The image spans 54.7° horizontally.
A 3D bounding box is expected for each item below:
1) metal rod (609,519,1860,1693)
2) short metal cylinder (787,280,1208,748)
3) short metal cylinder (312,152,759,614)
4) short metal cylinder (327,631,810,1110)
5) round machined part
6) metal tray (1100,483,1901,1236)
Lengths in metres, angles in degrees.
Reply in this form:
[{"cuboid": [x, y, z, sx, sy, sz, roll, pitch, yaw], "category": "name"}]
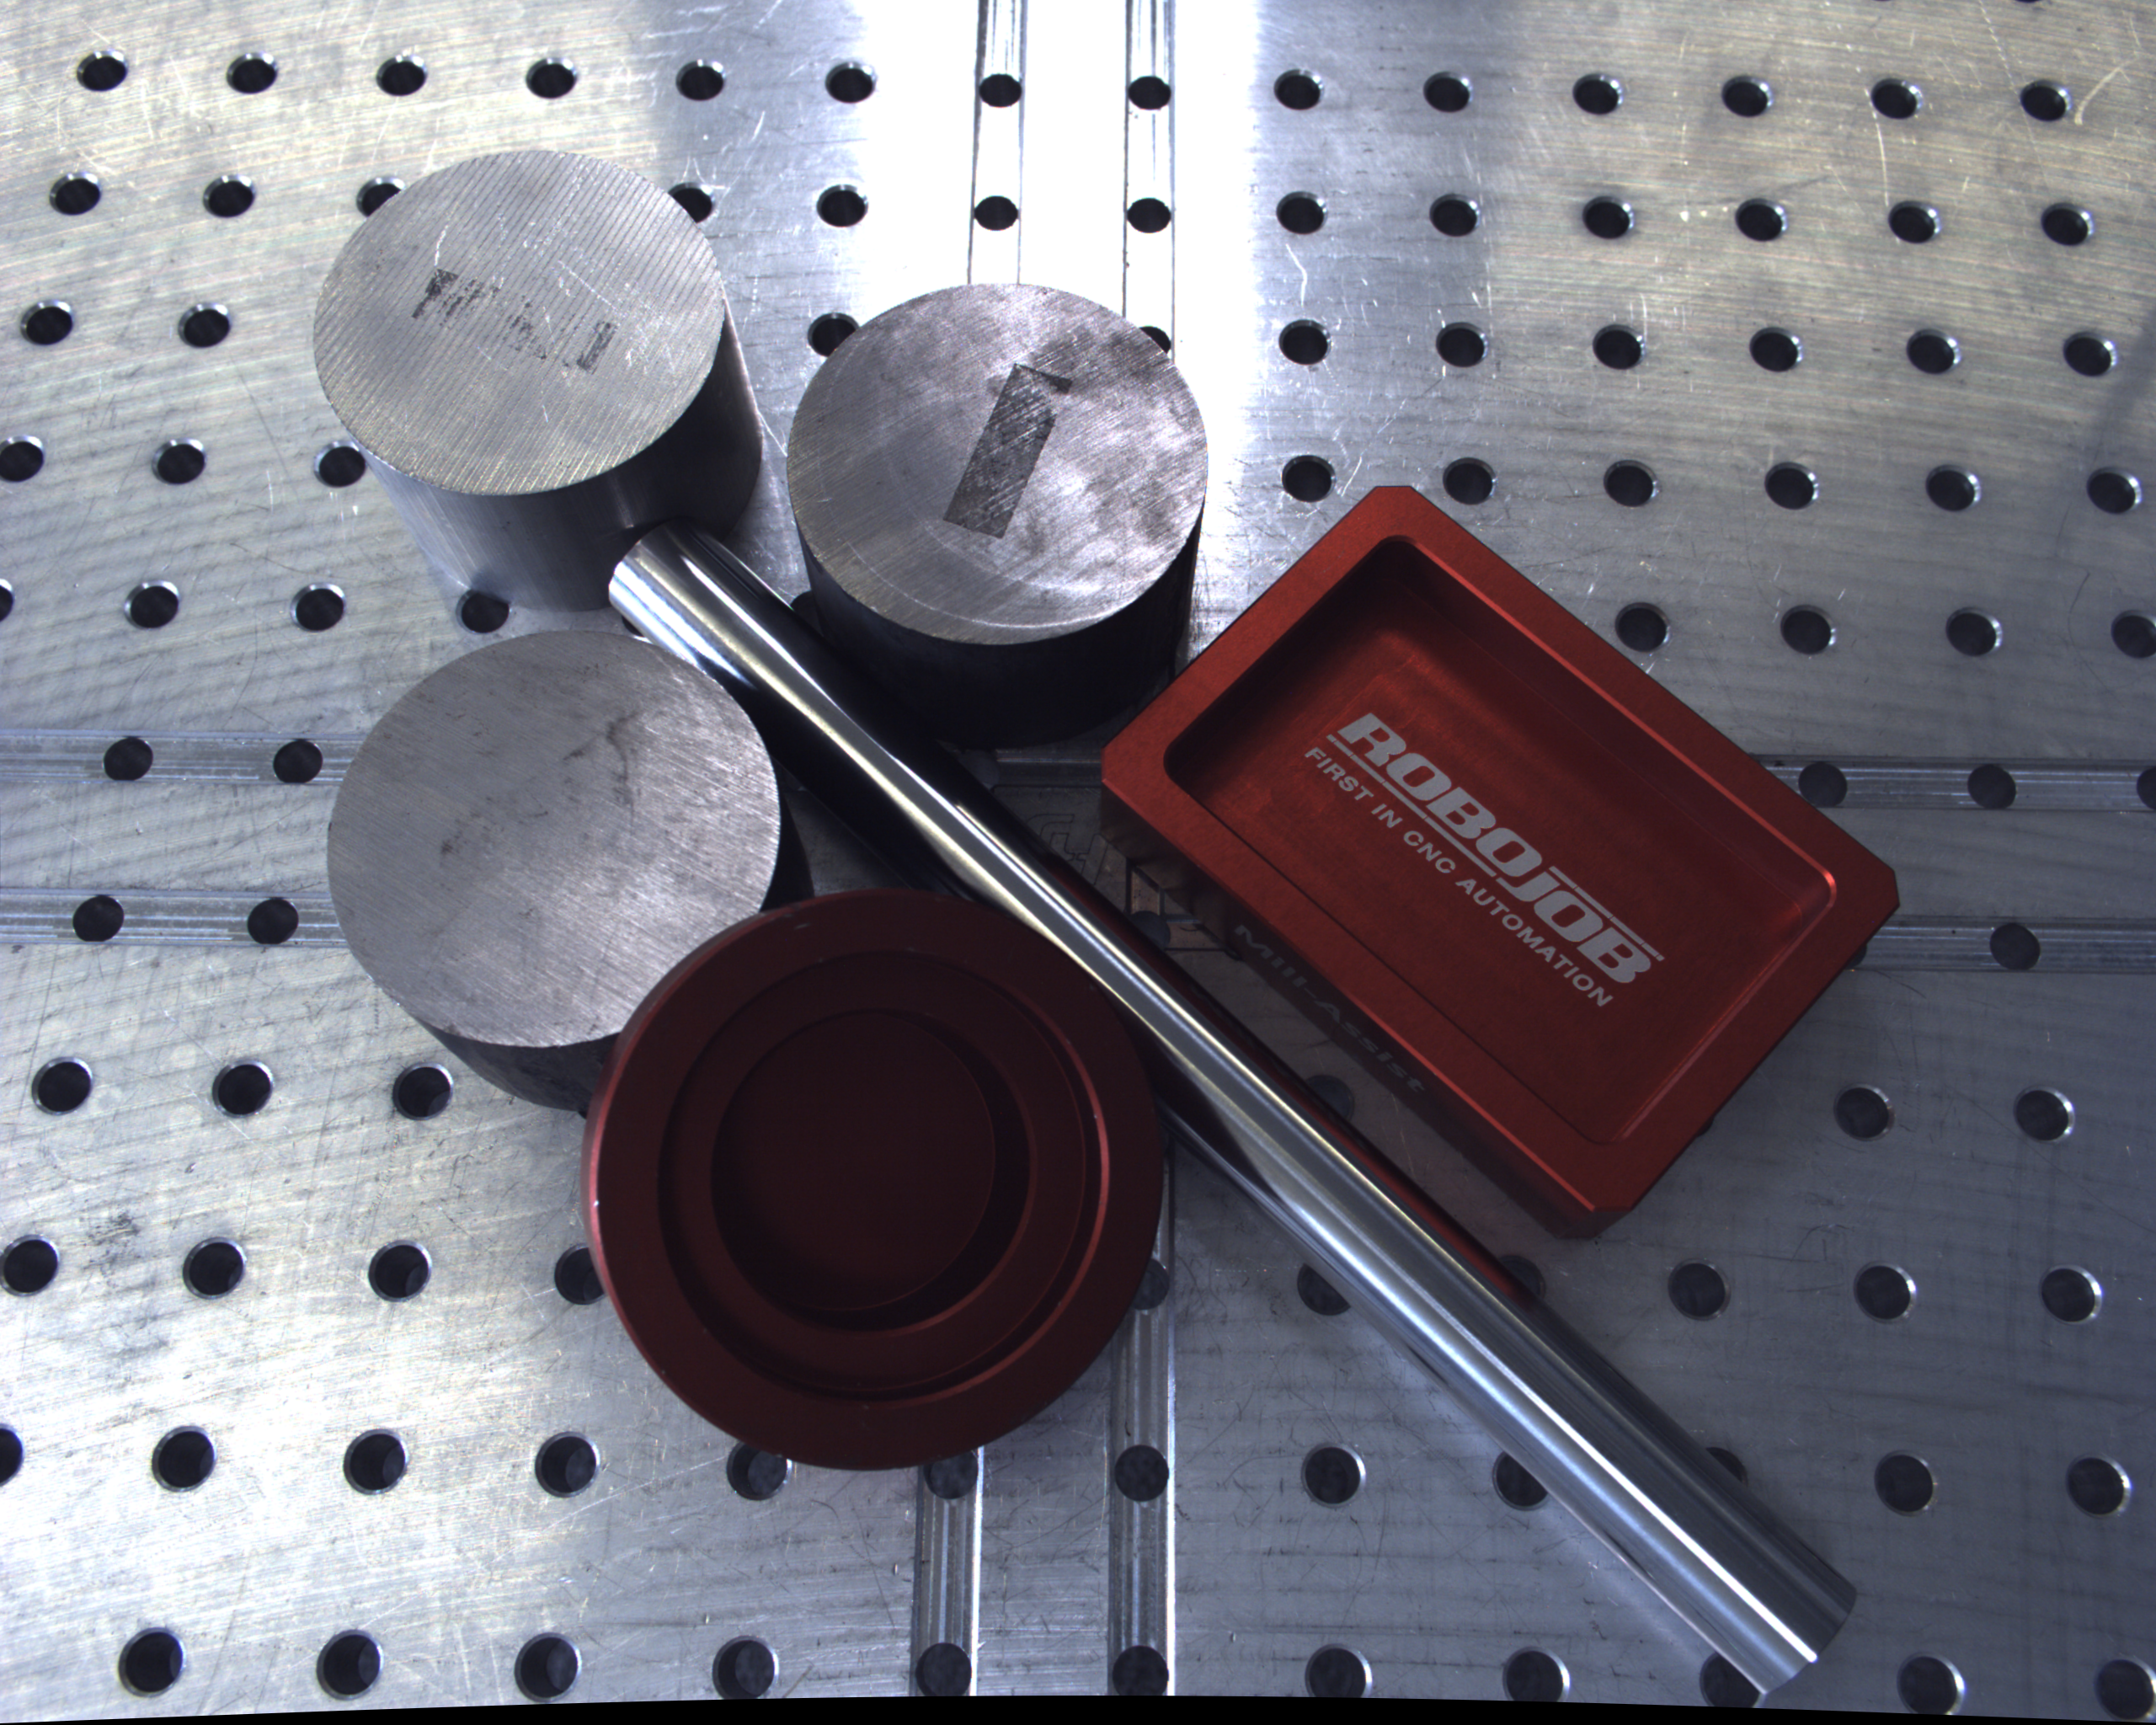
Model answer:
[{"cuboid": [0.020, 0.037, 0.399, 0.300, 0.025, 0.025, 42, 75, 14], "category": "metal rod"}, {"cuboid": [-0.015, -0.070, 0.423, 0.081, 0.050, 0.080, 0, 70, 0], "category": "short metal cylinder"}, {"cuboid": [-0.110, -0.099, 0.434, 0.081, 0.050, 0.080, 0, 70, 0], "category": "short metal cylinder"}, {"cuboid": [-0.094, 0.003, 0.396, 0.081, 0.050, 0.080, 0, 70, 0], "category": "short metal cylinder"}, {"cuboid": [-0.039, 0.054, 0.371, 0.099, 0.042, 0.097, 1, 85, -18], "category": "round machined part"}, {"cuboid": [0.079, -0.003, 0.409, 0.130, 0.030, 0.090, 42, 76, 13], "category": "metal tray"}]
